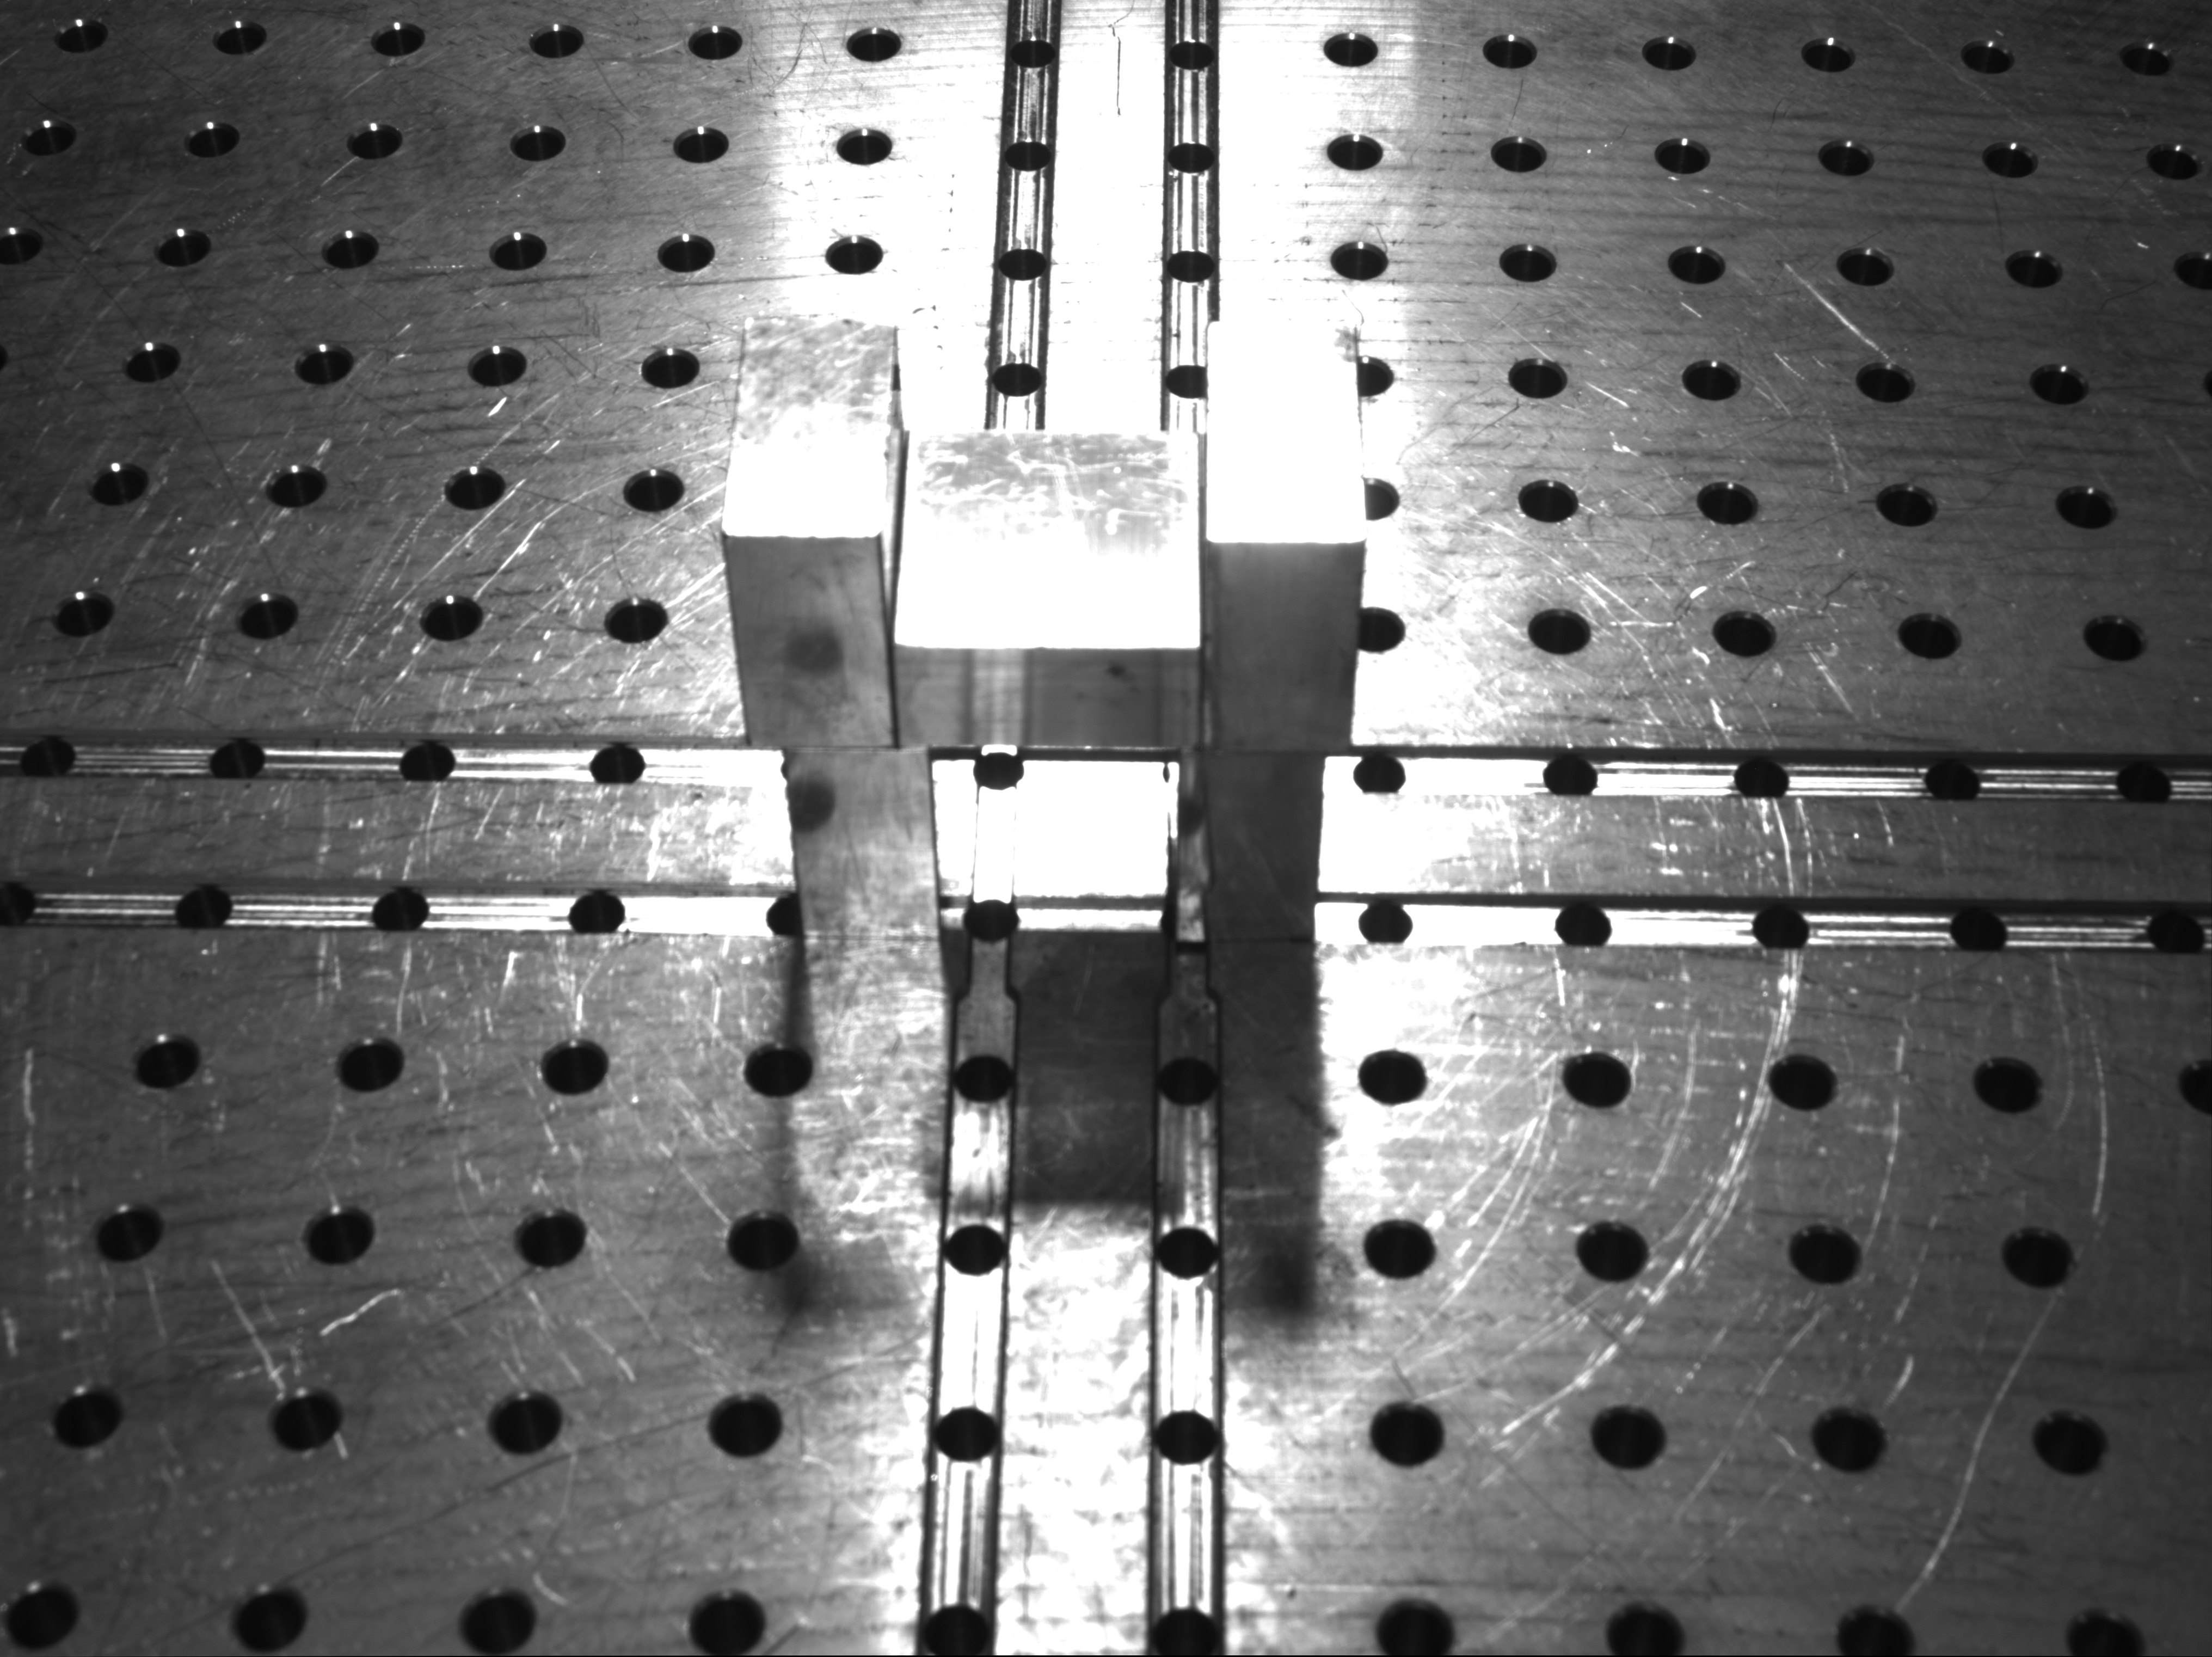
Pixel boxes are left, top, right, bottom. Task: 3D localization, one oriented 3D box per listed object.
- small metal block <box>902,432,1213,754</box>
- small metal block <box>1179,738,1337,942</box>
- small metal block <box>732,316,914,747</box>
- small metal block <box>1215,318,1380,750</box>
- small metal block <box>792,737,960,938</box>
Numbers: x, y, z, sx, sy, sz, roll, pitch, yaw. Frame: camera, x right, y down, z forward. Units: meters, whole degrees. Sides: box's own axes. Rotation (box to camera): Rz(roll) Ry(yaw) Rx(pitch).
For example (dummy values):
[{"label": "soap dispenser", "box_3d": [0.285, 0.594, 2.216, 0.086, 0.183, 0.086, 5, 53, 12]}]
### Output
[{"label": "small metal block", "box_3d": [-0.007, -0.040, 0.614, 0.050, 0.025, 0.050, 1, 50, 1]}, {"label": "small metal block", "box_3d": [0.026, -0.015, 0.641, 0.025, 0.050, 0.050, -1, 50, 0]}, {"label": "small metal block", "box_3d": [-0.045, -0.049, 0.603, 0.025, 0.050, 0.050, 0, 49, 1]}, {"label": "small metal block", "box_3d": [0.031, -0.048, 0.602, 0.025, 0.050, 0.050, 0, 49, 1]}, {"label": "small metal block", "box_3d": [-0.039, -0.016, 0.641, 0.025, 0.050, 0.050, 1, 50, 1]}]
